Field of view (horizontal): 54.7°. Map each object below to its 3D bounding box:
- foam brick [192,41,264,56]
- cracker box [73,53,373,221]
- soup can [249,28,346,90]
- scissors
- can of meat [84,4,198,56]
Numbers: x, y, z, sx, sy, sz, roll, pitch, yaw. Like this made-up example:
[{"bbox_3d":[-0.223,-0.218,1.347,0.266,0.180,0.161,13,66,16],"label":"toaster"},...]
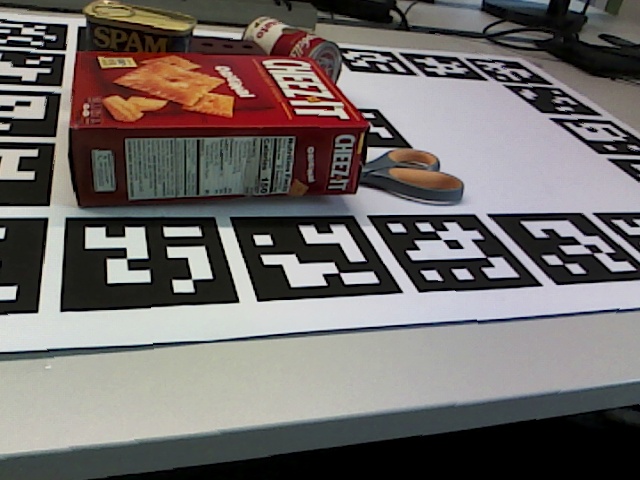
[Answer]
[{"bbox_3d":[-0.099,-0.184,0.677,0.077,0.051,0.053,-9,41,-27],"label":"foam brick"},{"bbox_3d":[-0.086,-0.099,0.518,0.213,0.072,0.165,-8,39,-21],"label":"cracker box"},{"bbox_3d":[-0.030,-0.203,0.724,0.102,0.068,0.067,25,37,27],"label":"soup can"},{"bbox_3d":[0.027,-0.056,0.547,0.202,0.016,0.088,-5,39,-23],"label":"scissors"},{"bbox_3d":[-0.177,-0.177,0.611,0.101,0.083,0.058,7,36,-8],"label":"can of meat"}]
